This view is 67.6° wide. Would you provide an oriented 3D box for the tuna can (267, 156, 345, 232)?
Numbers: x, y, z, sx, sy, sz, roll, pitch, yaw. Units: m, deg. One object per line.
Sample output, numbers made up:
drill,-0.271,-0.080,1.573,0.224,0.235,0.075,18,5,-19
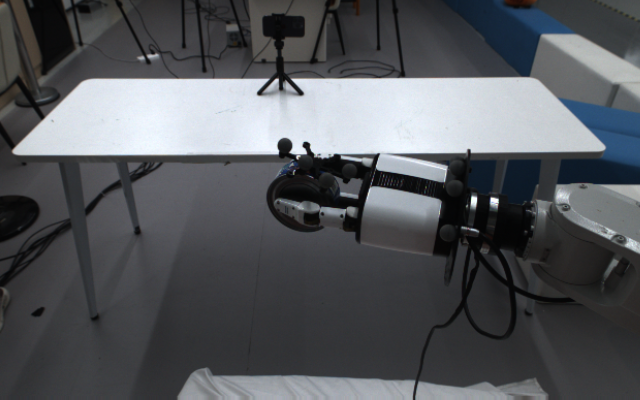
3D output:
tuna can,-0.018,-0.004,0.592,0.085,0.085,0.034,9,35,10
